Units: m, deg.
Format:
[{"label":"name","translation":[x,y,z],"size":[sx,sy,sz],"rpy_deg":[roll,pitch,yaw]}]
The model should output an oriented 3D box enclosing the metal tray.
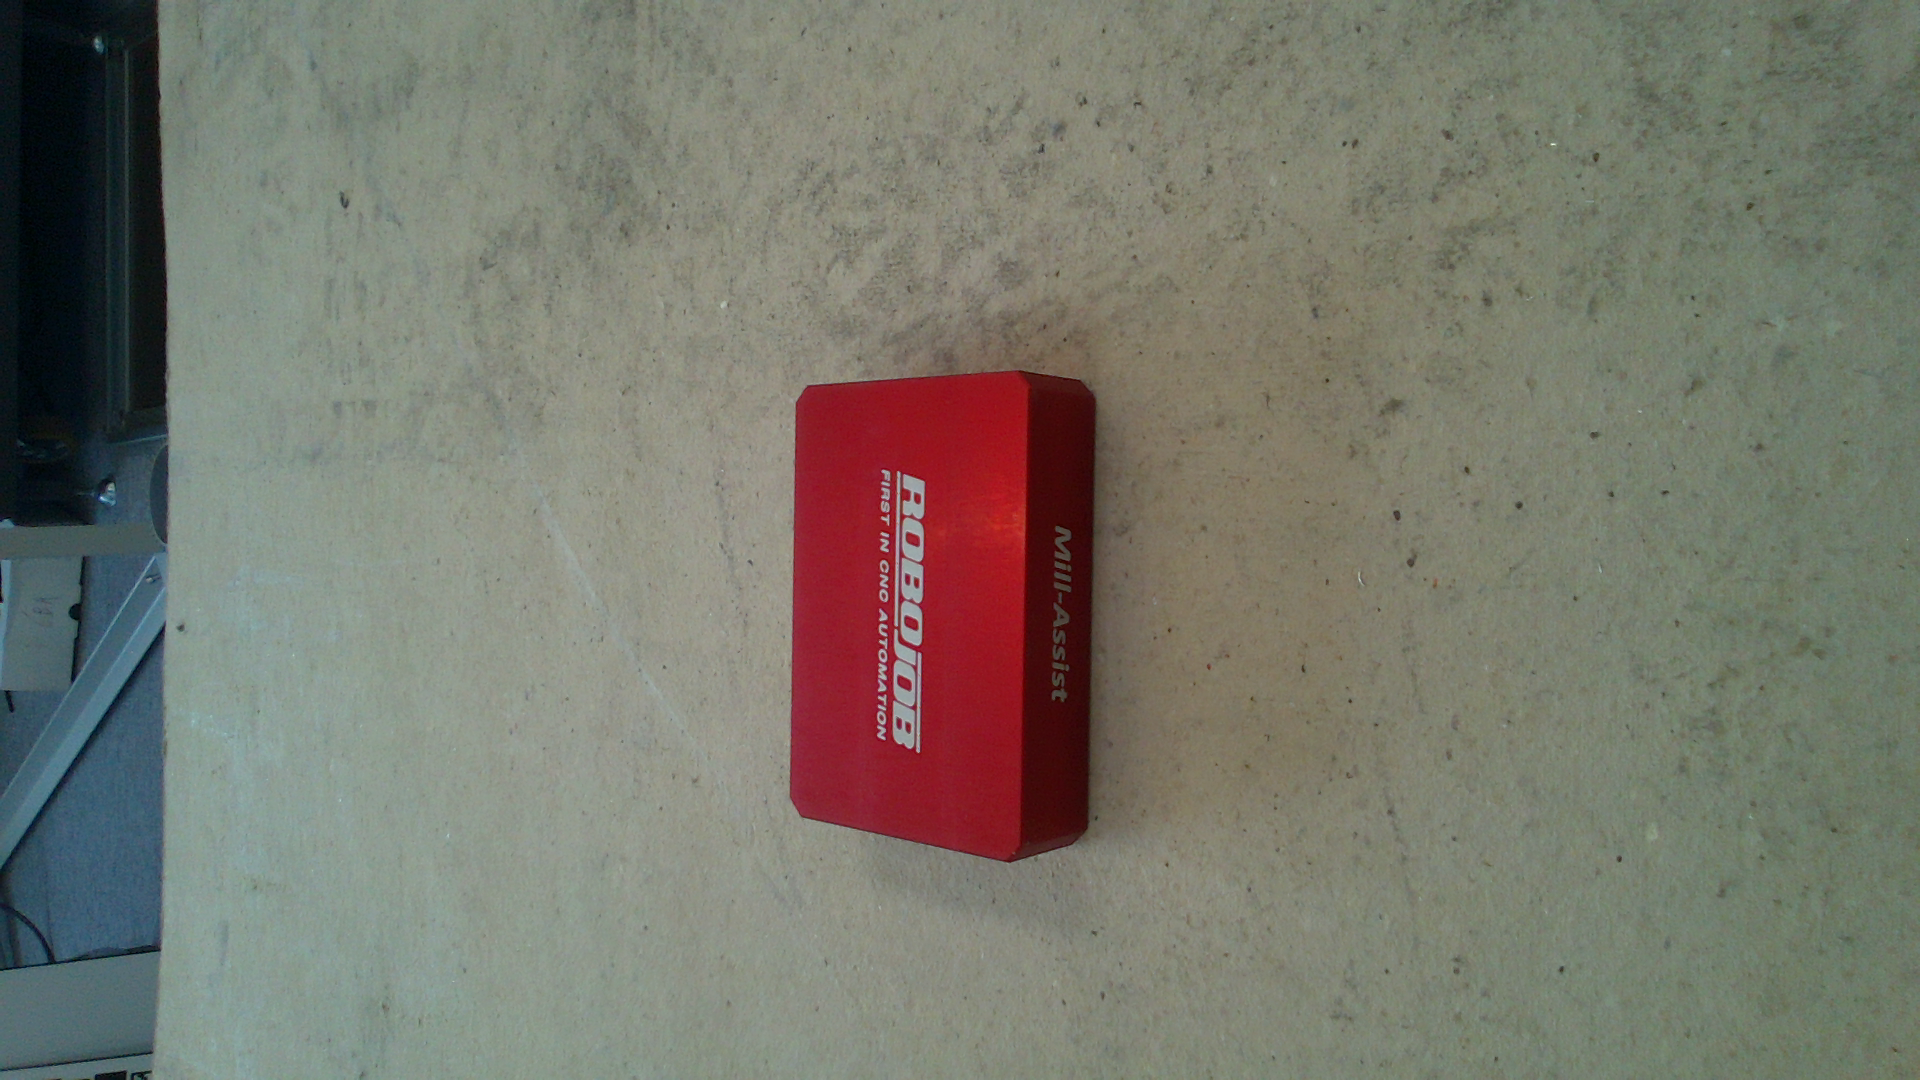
[{"label":"metal tray","translation":[-0.008,0.019,0.398],"size":[0.090,0.030,0.130],"rpy_deg":[1,92,40]}]
